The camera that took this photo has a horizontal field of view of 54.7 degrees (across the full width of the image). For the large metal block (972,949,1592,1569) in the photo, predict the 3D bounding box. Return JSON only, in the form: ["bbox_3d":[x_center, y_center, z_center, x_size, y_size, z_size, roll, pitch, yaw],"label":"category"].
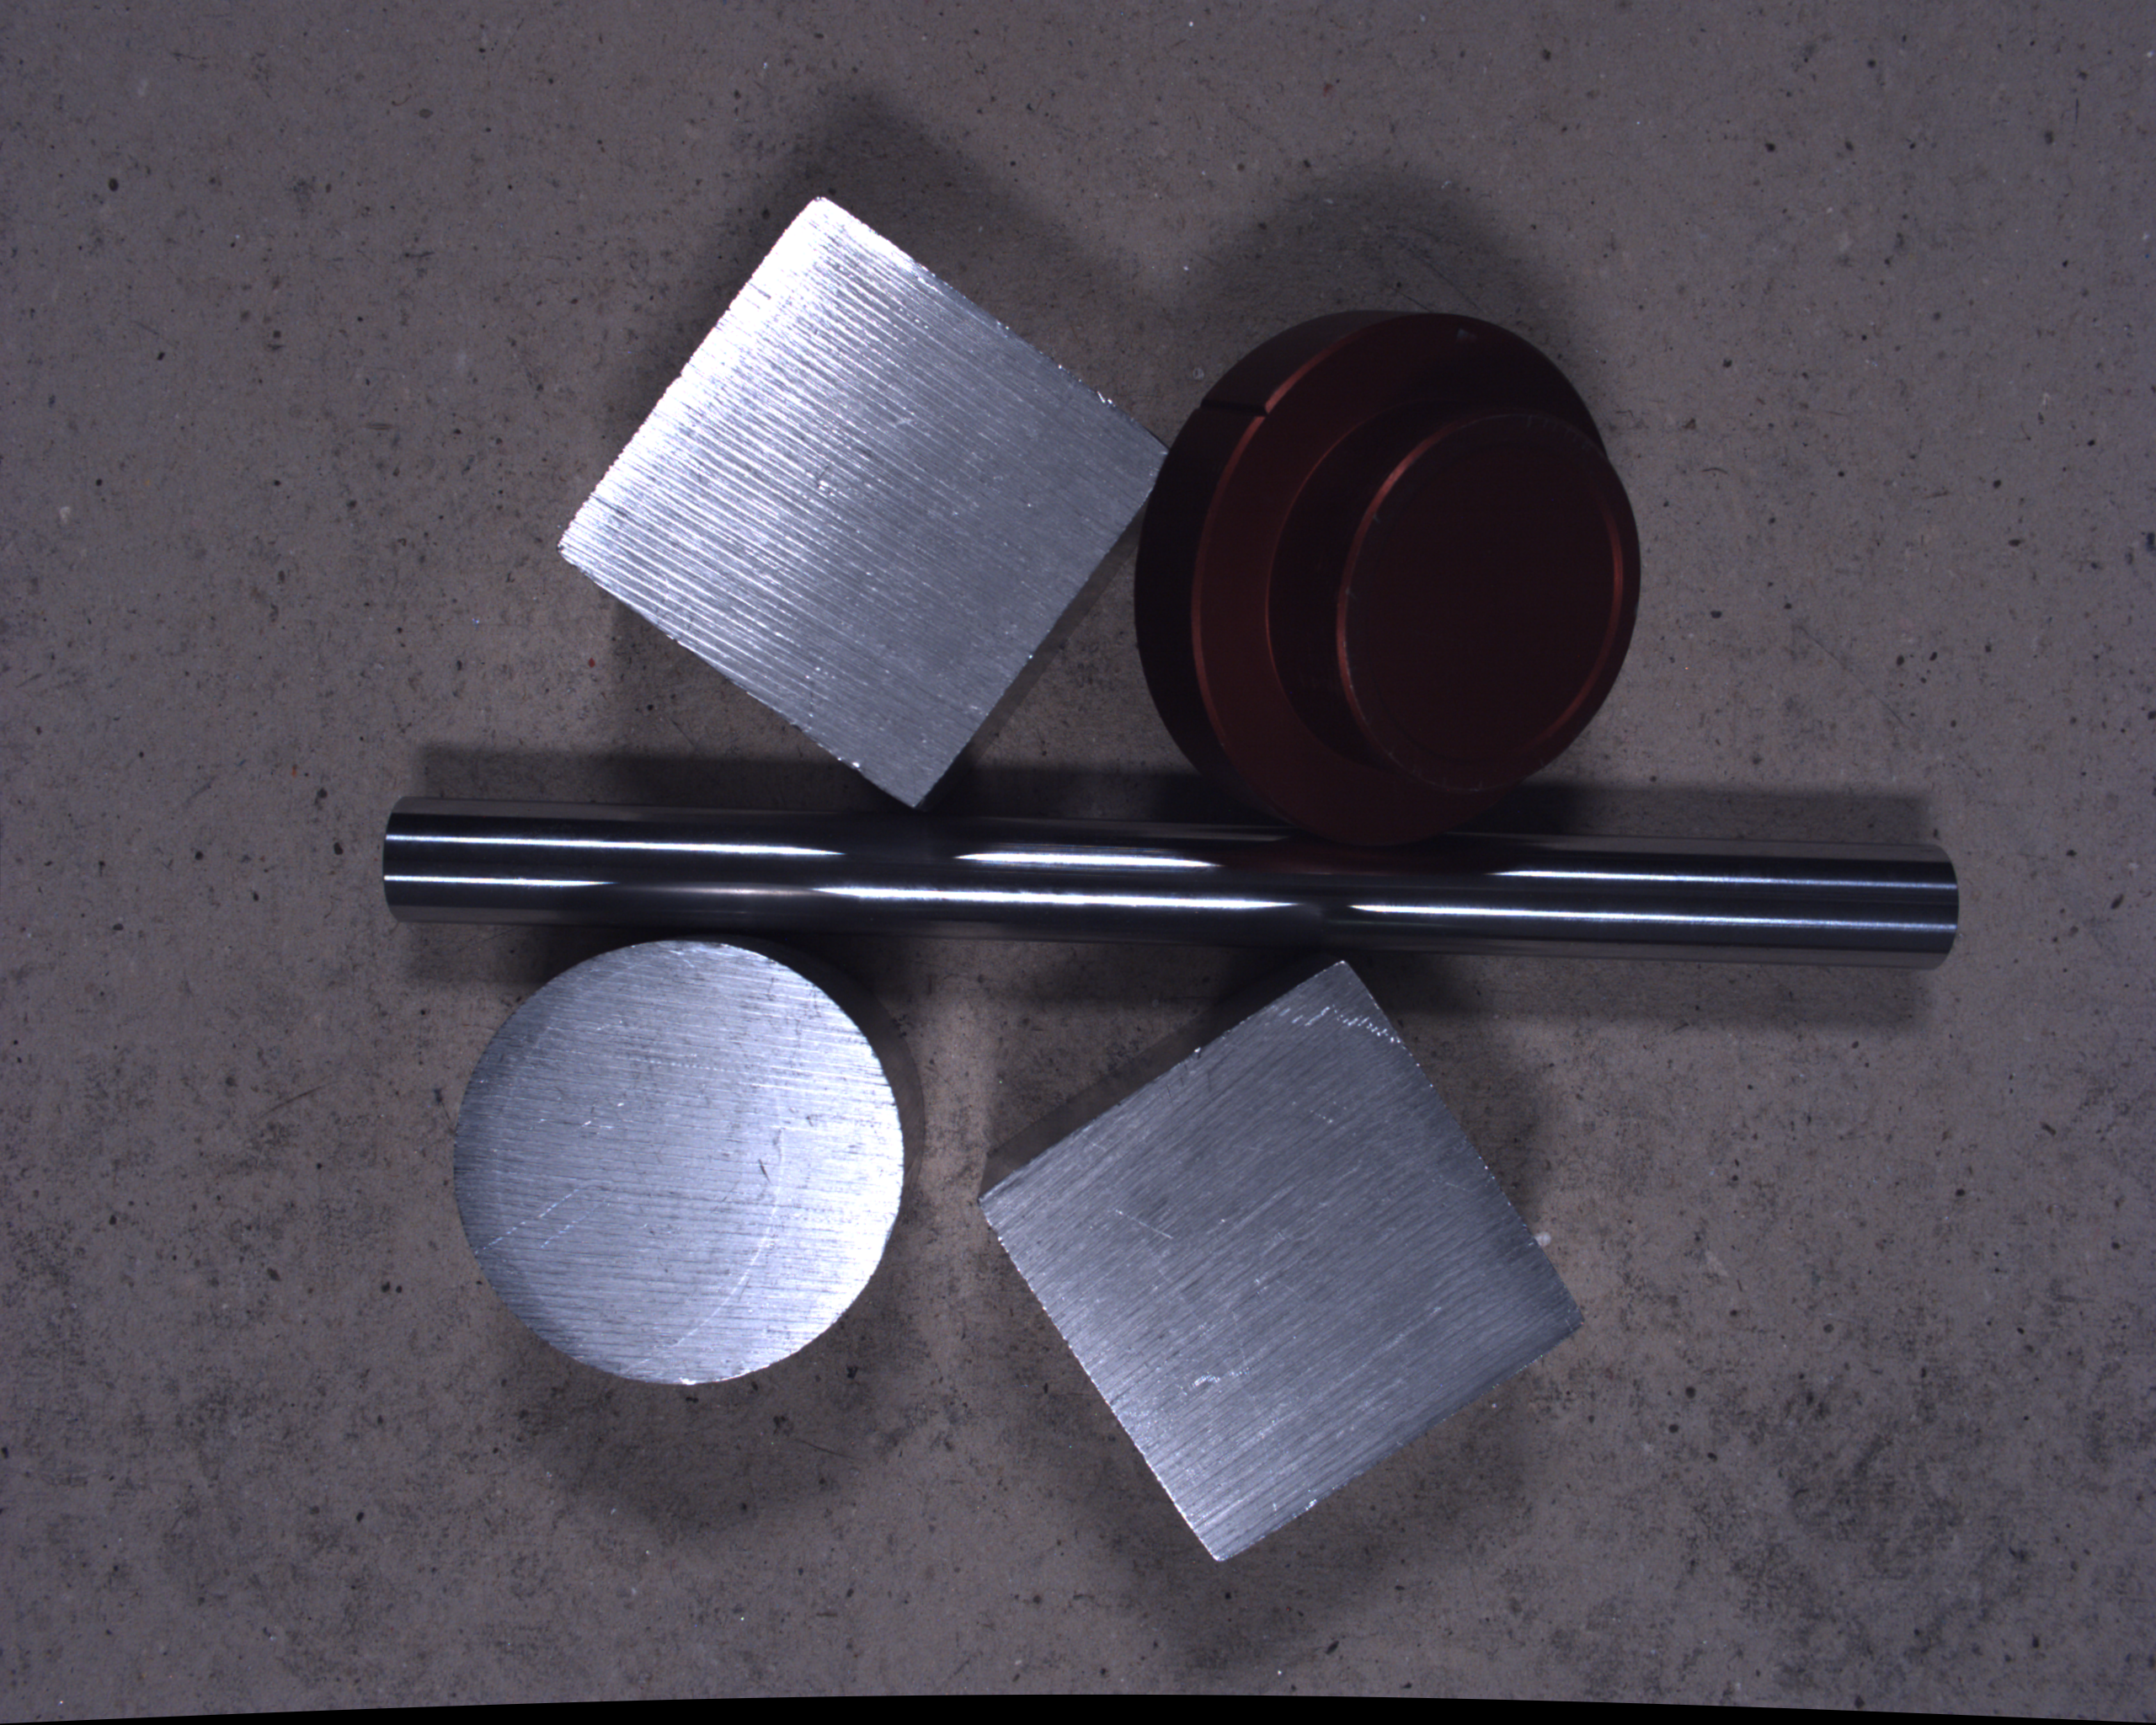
[{"bbox_3d":[0.037,0.072,0.399,0.080,0.050,0.080,-33,90,0],"label":"large metal block"}]

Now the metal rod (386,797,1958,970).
[{"bbox_3d":[0.019,0.004,0.412,0.302,0.025,0.025,2,90,-1],"label":"metal rod"}]

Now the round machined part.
[{"bbox_3d":[0.062,-0.050,0.380,0.099,0.042,0.097,-8,108,-26],"label":"round machined part"}]

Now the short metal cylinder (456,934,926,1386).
[{"bbox_3d":[-0.071,0.054,0.398,0.081,0.050,0.079,0,90,-1],"label":"short metal cylinder"}]

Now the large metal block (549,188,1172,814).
[{"bbox_3d":[-0.038,-0.065,0.396,0.080,0.050,0.080,37,90,-1],"label":"large metal block"}]
